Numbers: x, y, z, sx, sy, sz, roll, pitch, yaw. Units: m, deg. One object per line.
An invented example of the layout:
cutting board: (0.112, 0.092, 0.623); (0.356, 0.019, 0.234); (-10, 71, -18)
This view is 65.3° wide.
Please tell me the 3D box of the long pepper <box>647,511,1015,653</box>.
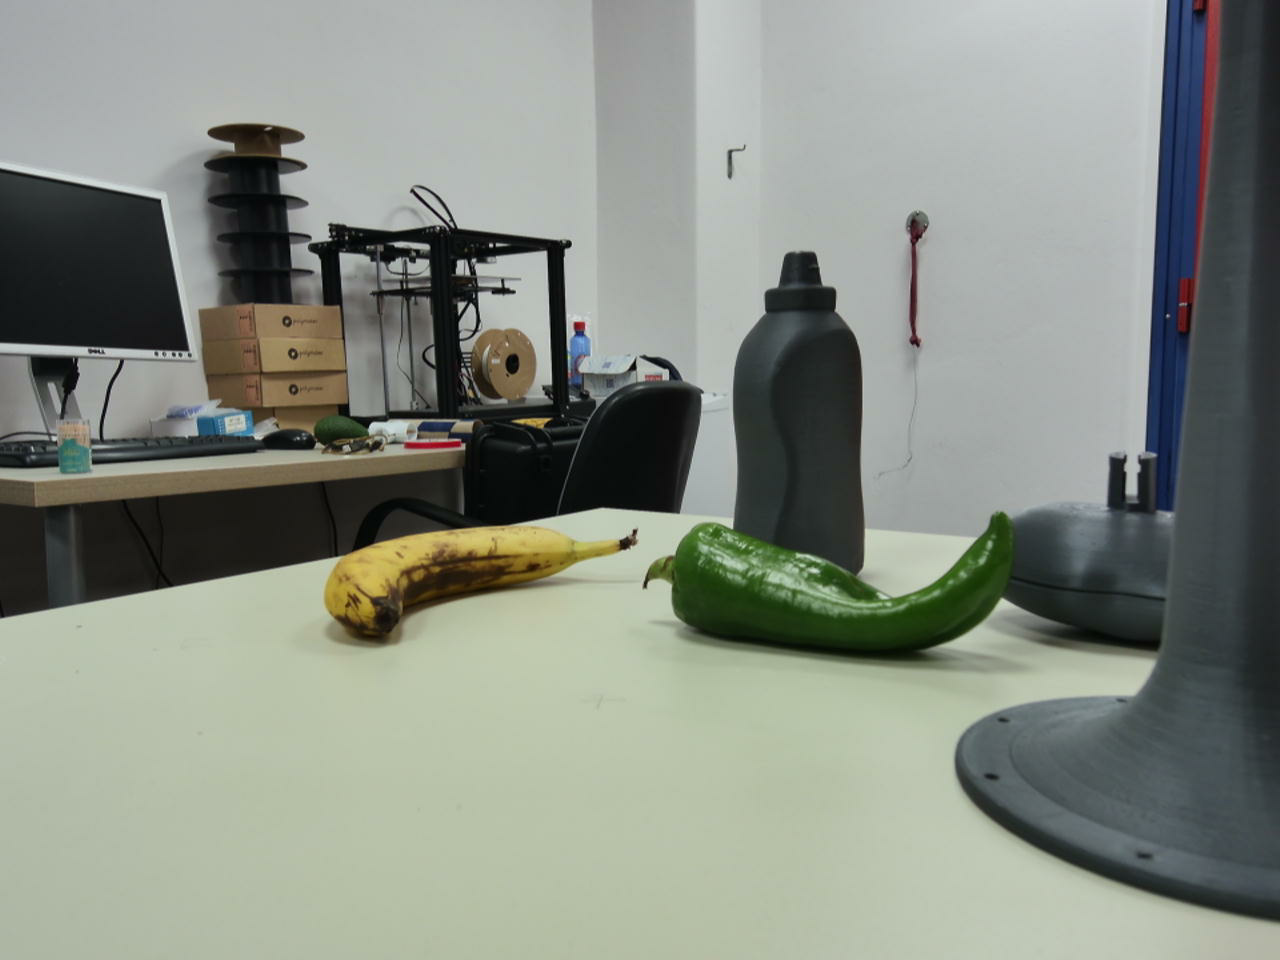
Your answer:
long pepper: (0.077, 0.042, 0.456); (0.175, 0.065, 0.058); (3, 4, 36)
